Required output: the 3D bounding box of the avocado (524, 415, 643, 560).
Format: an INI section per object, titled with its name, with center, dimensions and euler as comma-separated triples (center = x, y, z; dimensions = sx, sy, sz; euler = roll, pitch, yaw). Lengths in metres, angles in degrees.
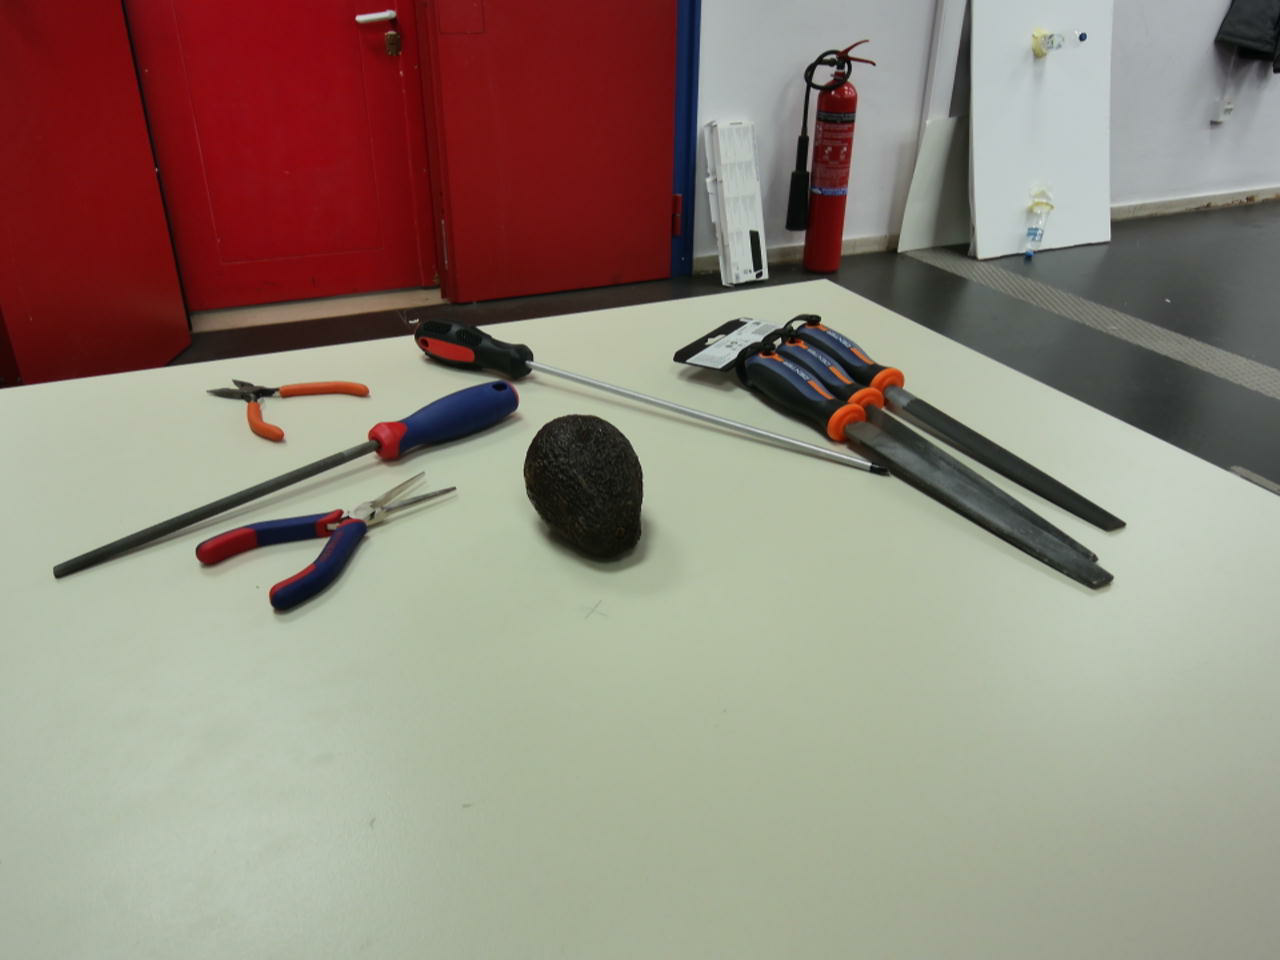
[avocado]
center = -0.033, 0.001, 0.576
dimensions = 0.070, 0.069, 0.090
euler = 2, 26, 0
